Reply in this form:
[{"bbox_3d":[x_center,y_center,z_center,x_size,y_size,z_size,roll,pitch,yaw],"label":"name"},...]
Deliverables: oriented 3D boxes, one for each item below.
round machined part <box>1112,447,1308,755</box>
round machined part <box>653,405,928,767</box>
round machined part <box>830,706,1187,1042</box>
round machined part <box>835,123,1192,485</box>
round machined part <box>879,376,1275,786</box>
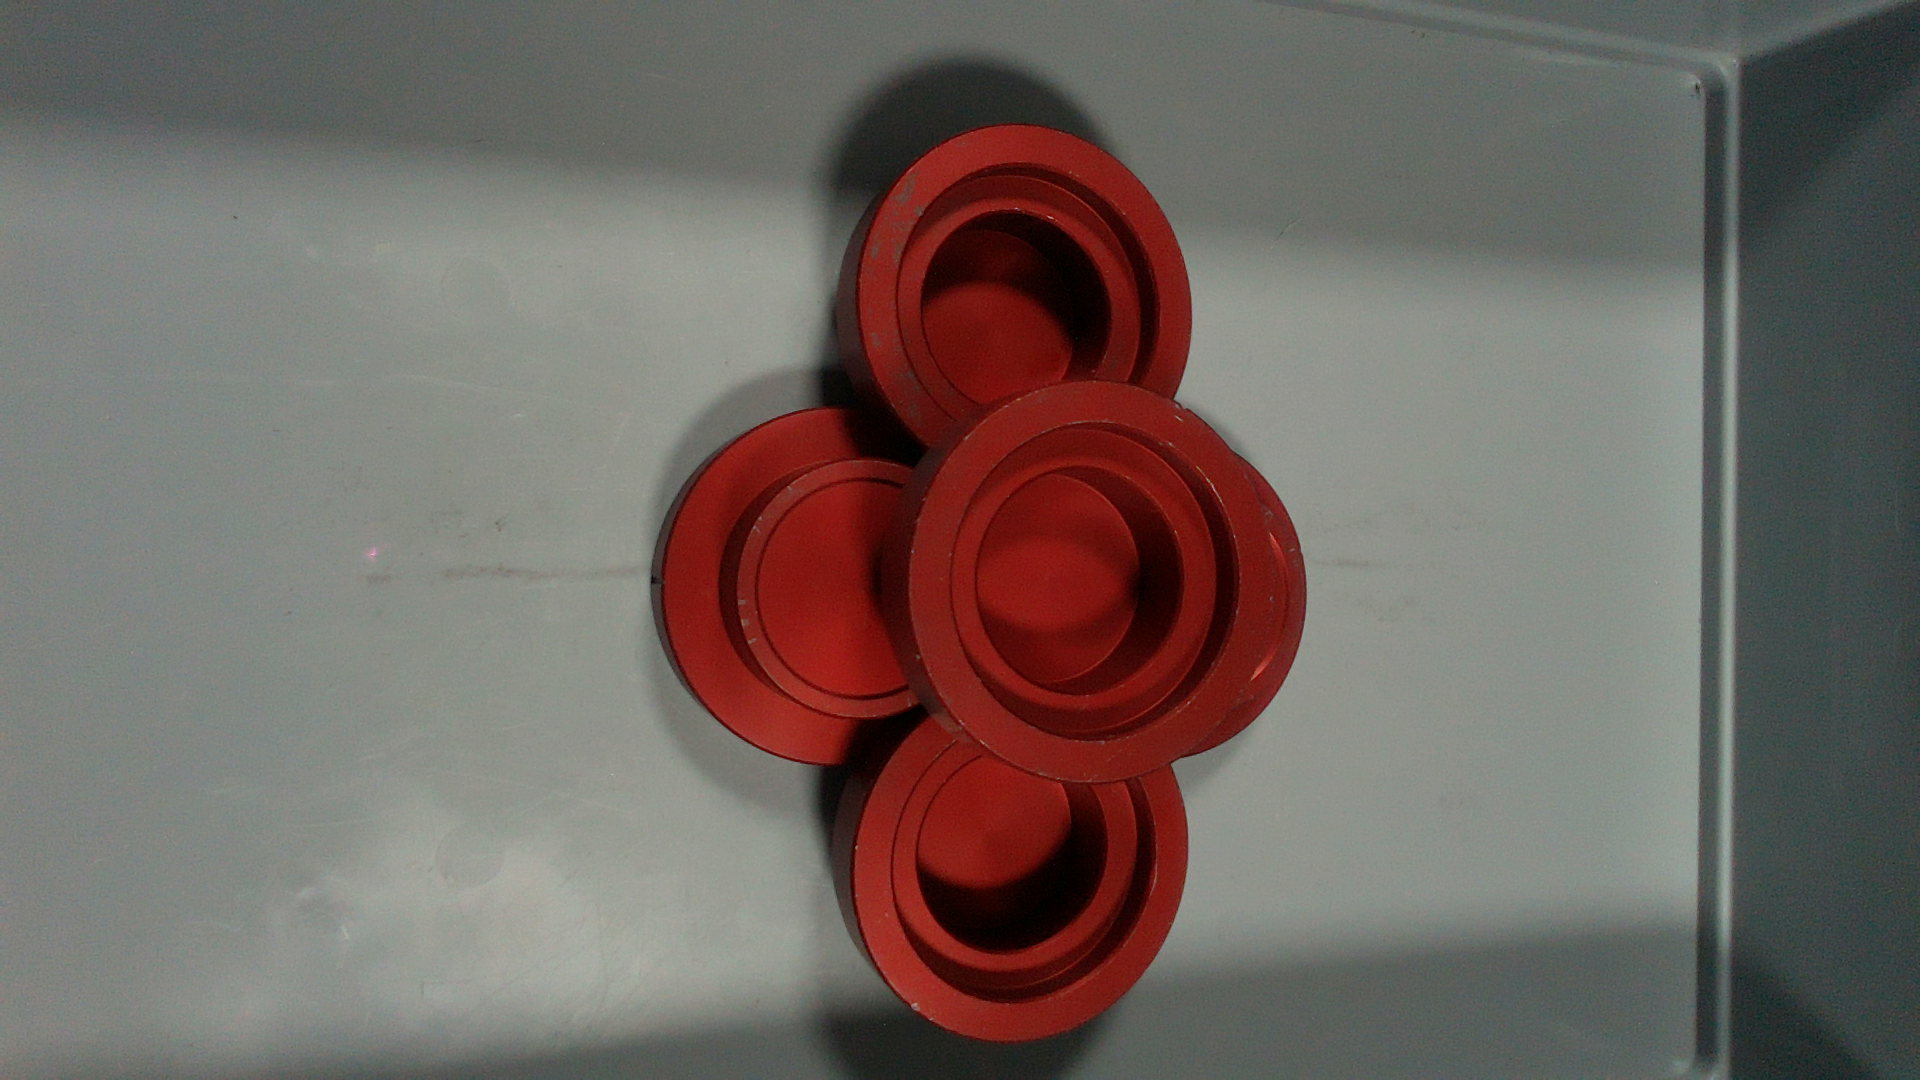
[{"bbox_3d":[0.061,0.016,0.405,0.098,0.042,0.098,0,90,-20],"label":"round machined part"},{"bbox_3d":[-0.032,0.013,0.371,0.098,0.042,0.098,0,90,-20],"label":"round machined part"},{"bbox_3d":[0.011,0.085,0.387,0.098,0.042,0.098,0,90,-20],"label":"round machined part"},{"bbox_3d":[0.012,-0.062,0.387,0.098,0.042,0.098,0,90,-20],"label":"round machined part"},{"bbox_3d":[0.026,0.010,0.348,0.098,0.042,0.098,0,90,-20],"label":"round machined part"}]
